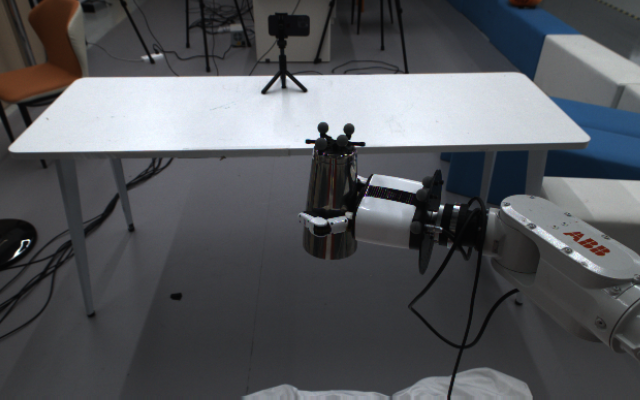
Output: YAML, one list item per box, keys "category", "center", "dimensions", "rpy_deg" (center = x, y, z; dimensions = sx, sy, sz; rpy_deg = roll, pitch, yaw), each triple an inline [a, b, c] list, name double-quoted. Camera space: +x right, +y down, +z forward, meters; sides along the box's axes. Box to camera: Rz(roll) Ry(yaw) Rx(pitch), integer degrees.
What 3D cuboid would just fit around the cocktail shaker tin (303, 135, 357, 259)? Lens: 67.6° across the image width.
- category: "cocktail shaker tin"
  center: [0.021, -0.004, 0.761]
  dimensions: [0.093, 0.170, 0.093]
  rpy_deg: [2, 28, -1]
